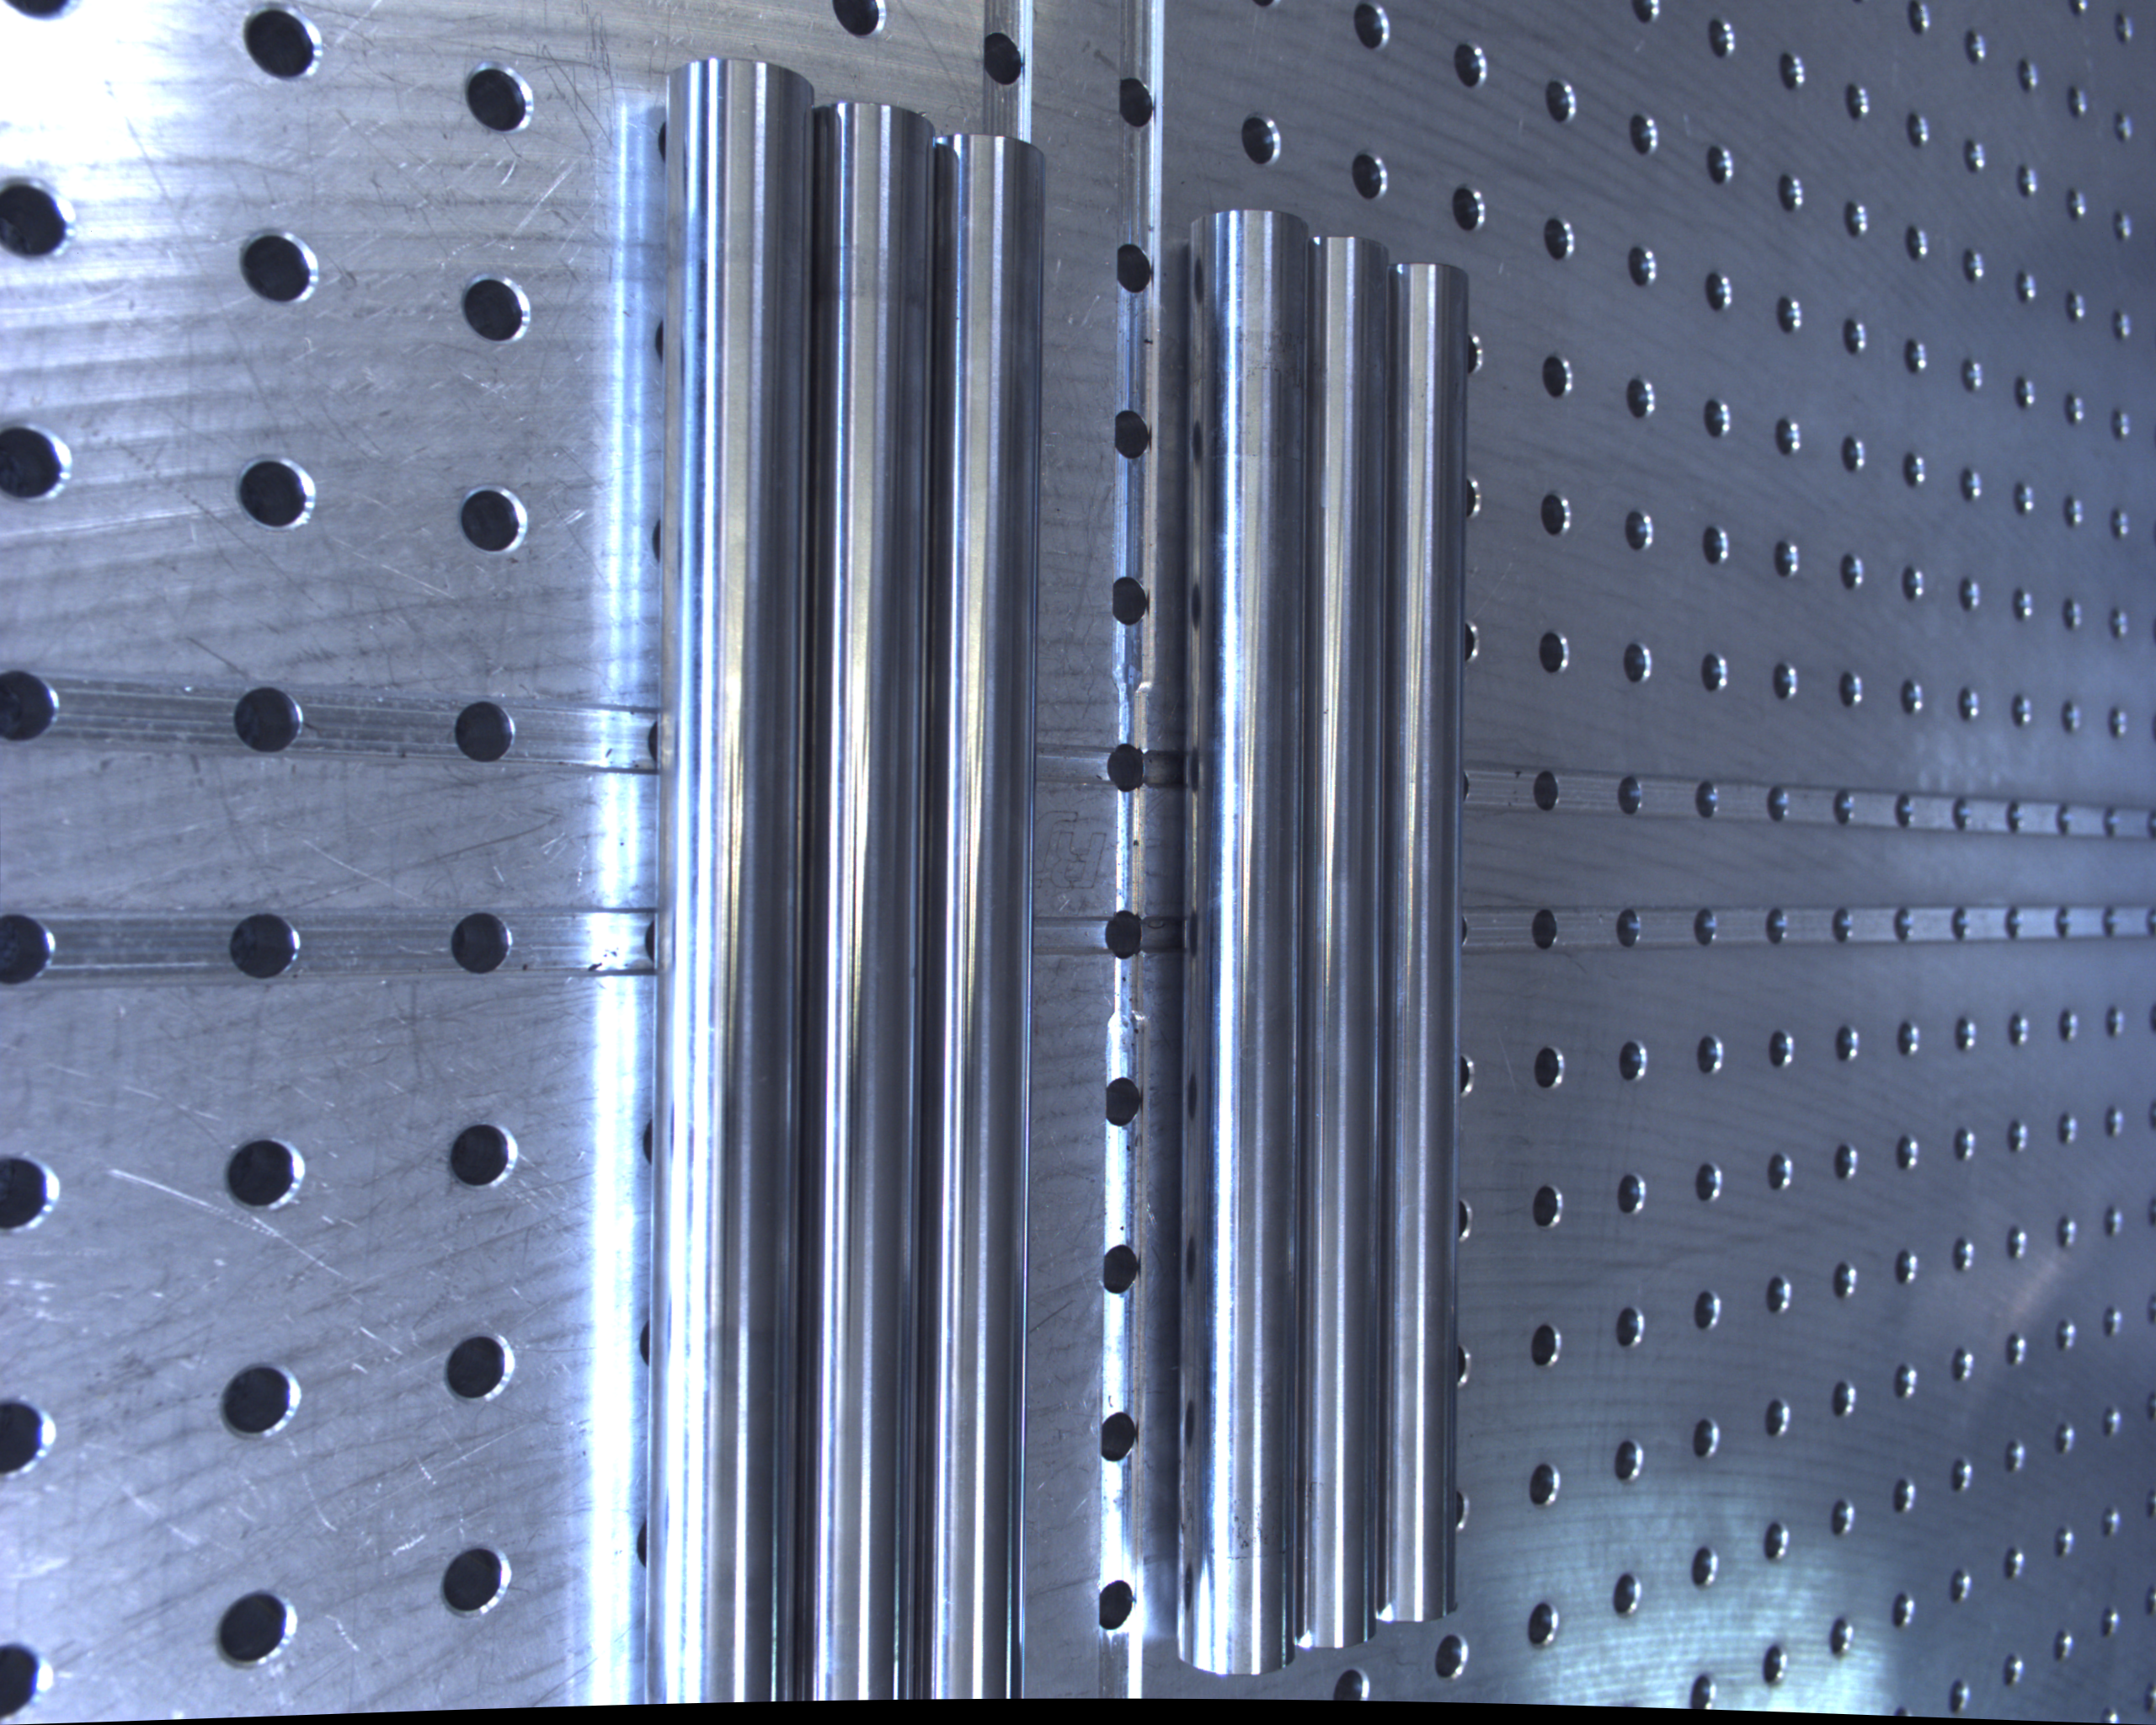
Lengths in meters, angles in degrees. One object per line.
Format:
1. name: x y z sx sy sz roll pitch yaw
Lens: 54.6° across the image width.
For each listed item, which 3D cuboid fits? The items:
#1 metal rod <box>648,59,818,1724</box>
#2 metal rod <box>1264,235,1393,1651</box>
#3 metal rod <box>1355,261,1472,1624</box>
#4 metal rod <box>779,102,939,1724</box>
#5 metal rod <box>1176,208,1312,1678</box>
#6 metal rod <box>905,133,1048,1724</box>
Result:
1. metal rod: -0.059 0.016 0.358 0.025 0.025 0.298 1 89 -40
2. metal rod: 0.054 0.017 0.452 0.025 0.025 0.298 1 89 -40
3. metal rod: 0.075 0.017 0.470 0.025 0.025 0.298 1 89 -40
4. metal rod: -0.039 0.017 0.375 0.025 0.025 0.298 1 89 -40
5. metal rod: 0.035 0.016 0.436 0.025 0.025 0.298 1 89 -40
6. metal rod: -0.020 0.017 0.391 0.025 0.025 0.298 1 89 -40
